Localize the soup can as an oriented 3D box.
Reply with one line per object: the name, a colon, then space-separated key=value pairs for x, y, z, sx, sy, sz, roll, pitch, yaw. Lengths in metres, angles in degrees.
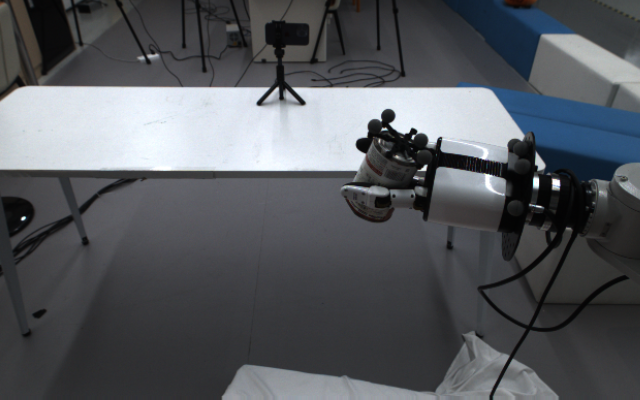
soup can: x=0.083 y=-0.030 z=0.623 sx=0.067 sy=0.101 sz=0.067 roll=14 pitch=40 yaw=-12
